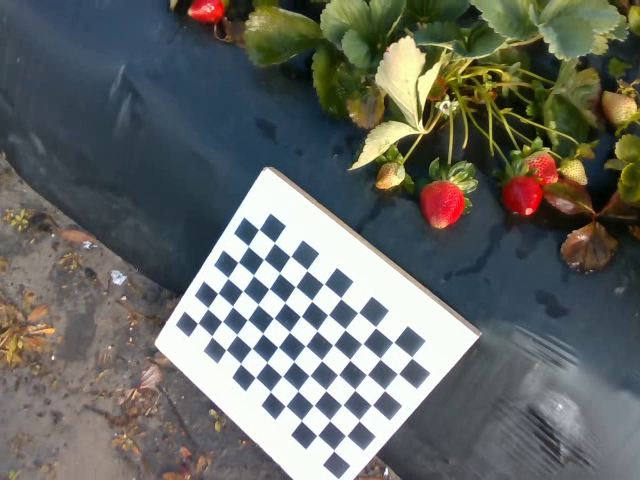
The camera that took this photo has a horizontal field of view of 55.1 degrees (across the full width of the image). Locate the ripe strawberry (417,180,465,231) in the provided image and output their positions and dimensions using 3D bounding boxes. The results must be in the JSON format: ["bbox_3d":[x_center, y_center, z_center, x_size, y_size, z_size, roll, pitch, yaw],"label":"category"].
[{"bbox_3d":[0.126,-0.036,0.630,0.050,0.049,0.065,-1,39,24],"label":"ripe strawberry"}]

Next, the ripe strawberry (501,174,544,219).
[{"bbox_3d":[0.211,-0.043,0.637,0.045,0.041,0.055,-27,33,23],"label":"ripe strawberry"}]
